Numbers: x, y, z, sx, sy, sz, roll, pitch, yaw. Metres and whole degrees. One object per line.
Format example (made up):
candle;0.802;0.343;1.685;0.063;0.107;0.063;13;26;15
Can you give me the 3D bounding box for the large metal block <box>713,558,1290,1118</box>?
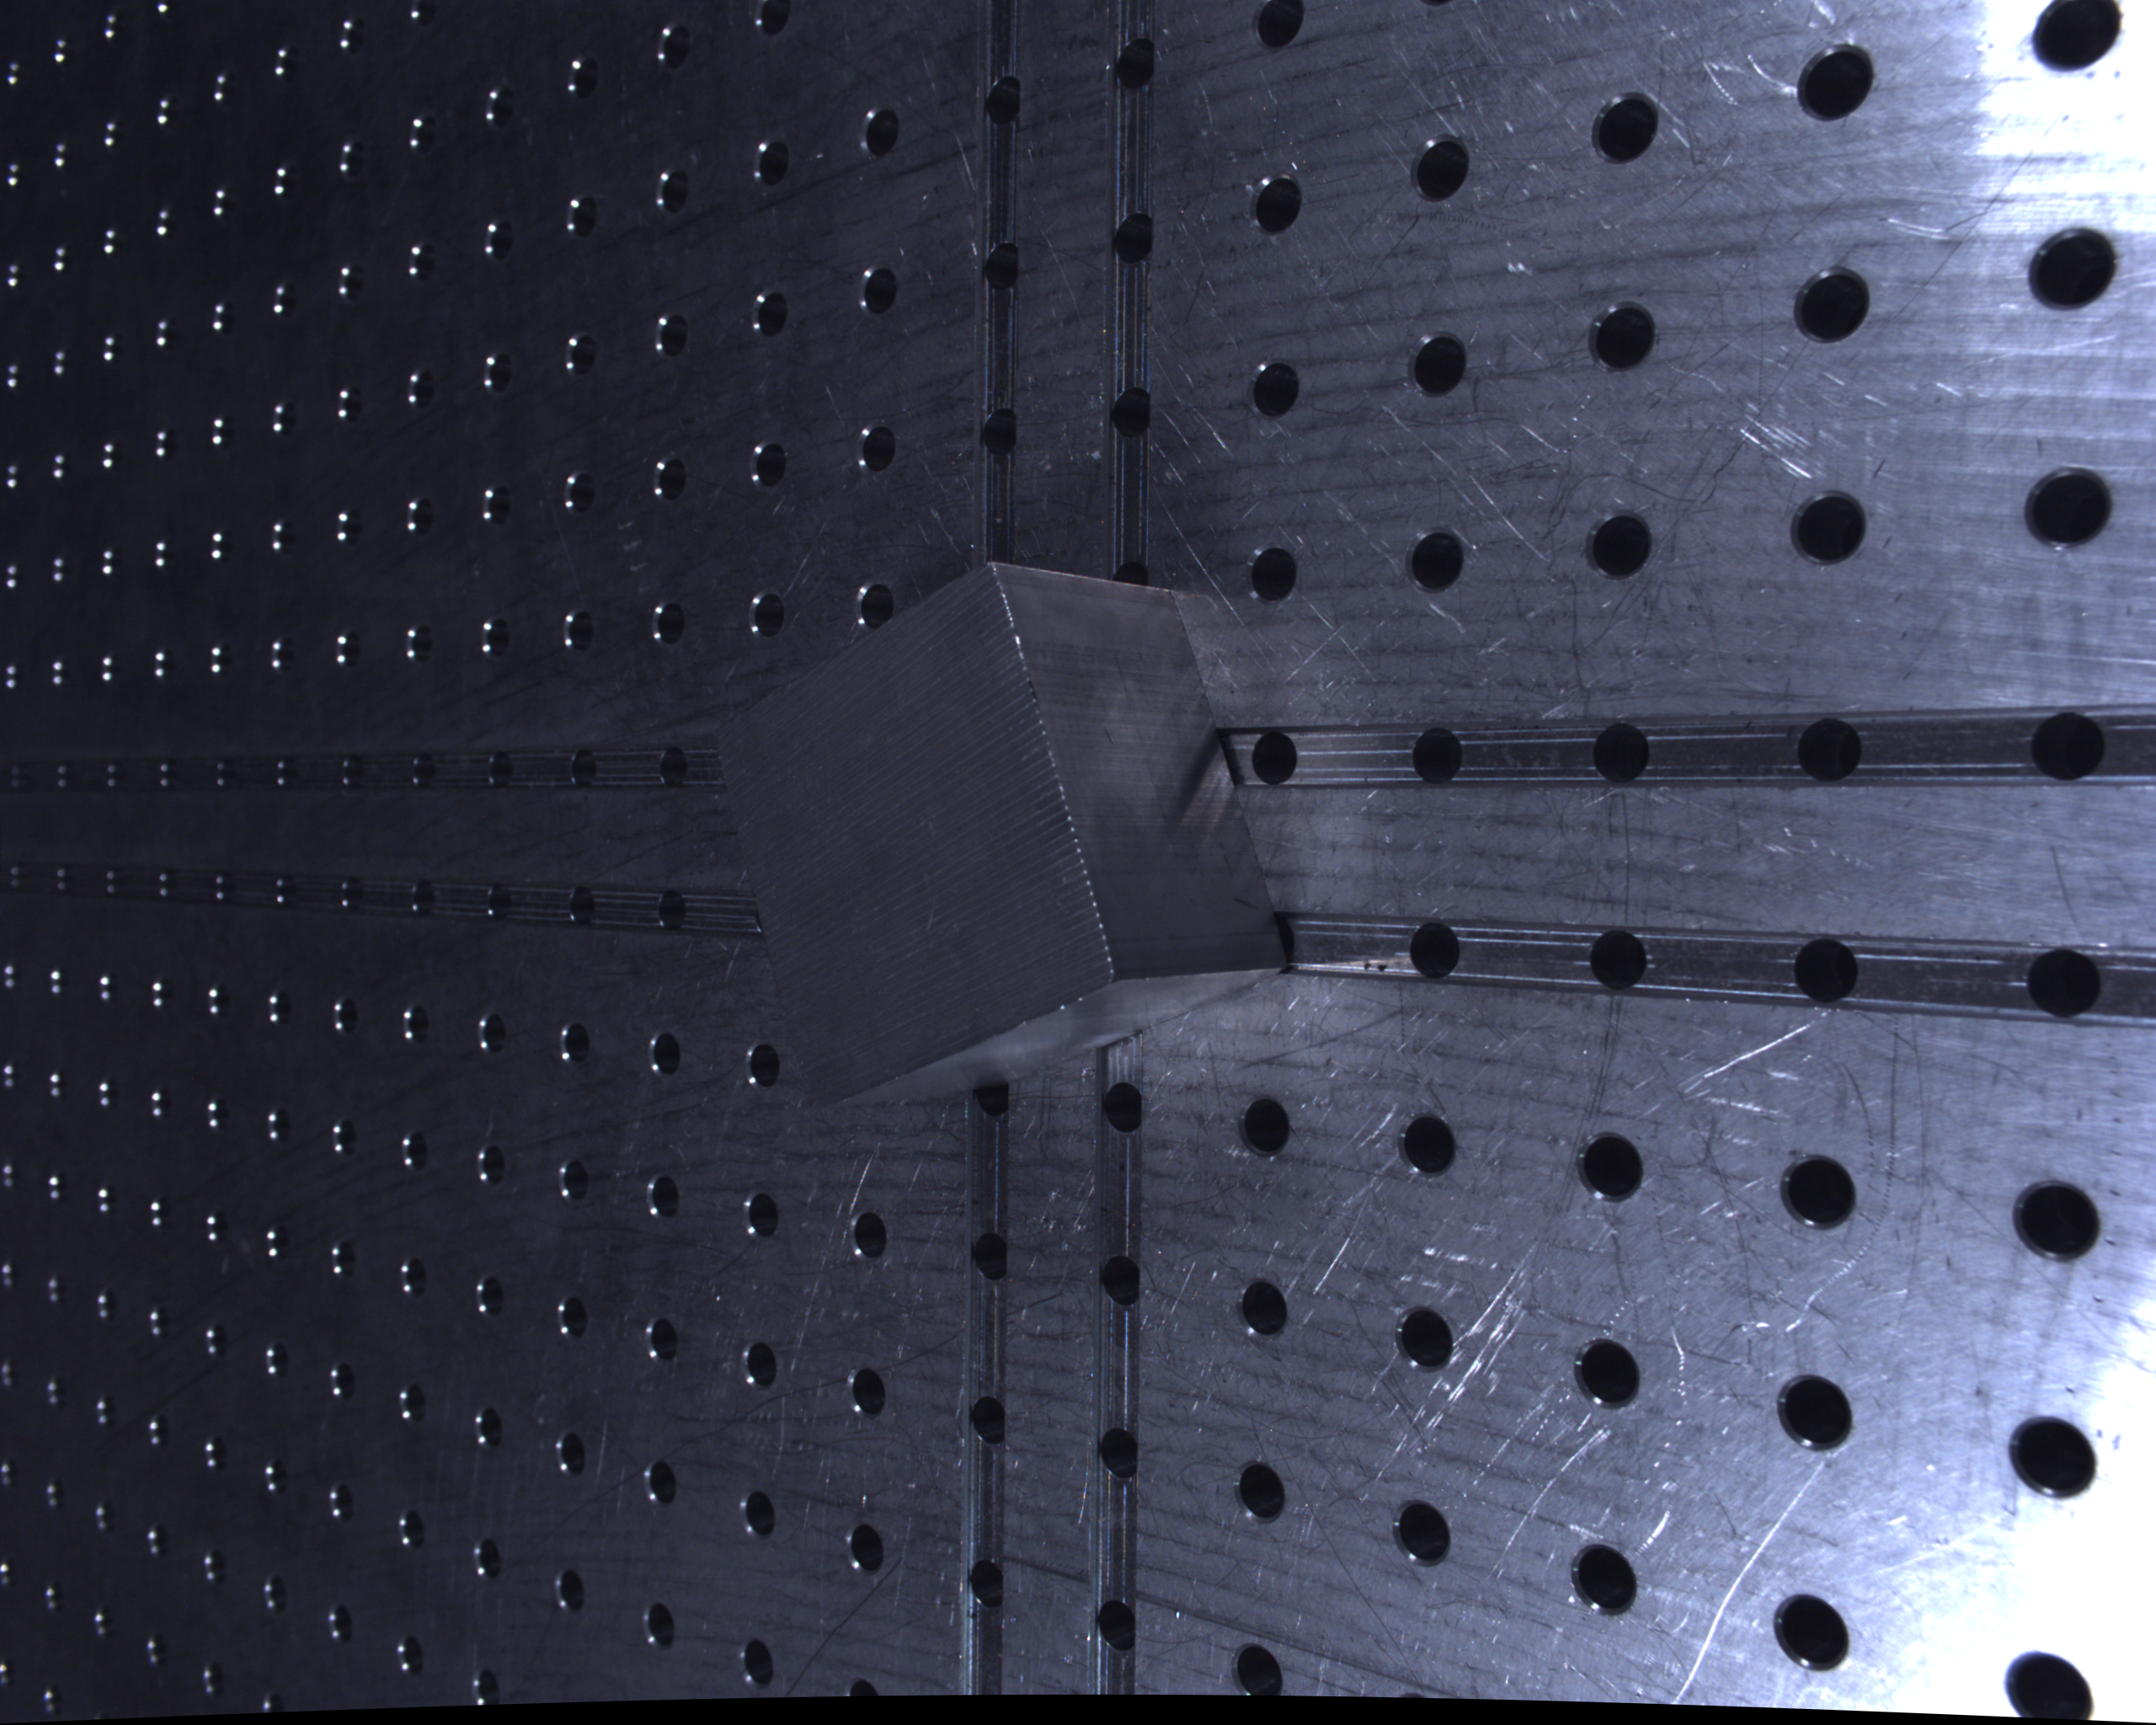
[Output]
large metal block;-0.017;-0.003;0.401;0.080;0.050;0.080;-26;74;36
